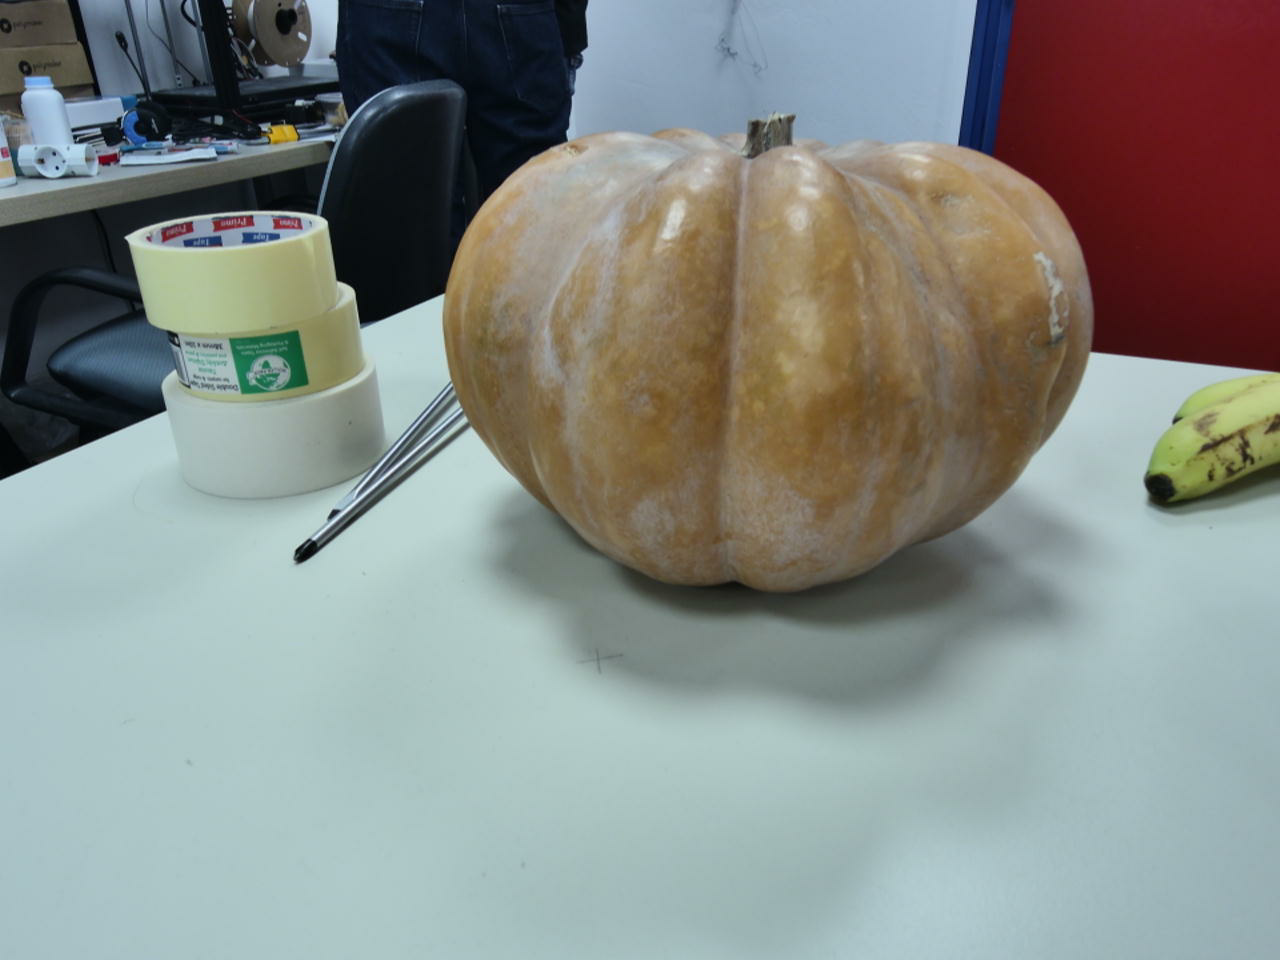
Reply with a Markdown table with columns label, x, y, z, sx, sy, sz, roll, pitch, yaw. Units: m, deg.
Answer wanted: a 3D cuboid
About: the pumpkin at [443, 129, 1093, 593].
| label | x | y | z | sx | sy | sz | roll | pitch | yaw |
| --- | --- | --- | --- | --- | --- | --- | --- | --- | --- |
| pumpkin | 0.048 | -0.063 | 0.437 | 0.277 | 0.181 | 0.277 | 0 | 24 | 0 |
